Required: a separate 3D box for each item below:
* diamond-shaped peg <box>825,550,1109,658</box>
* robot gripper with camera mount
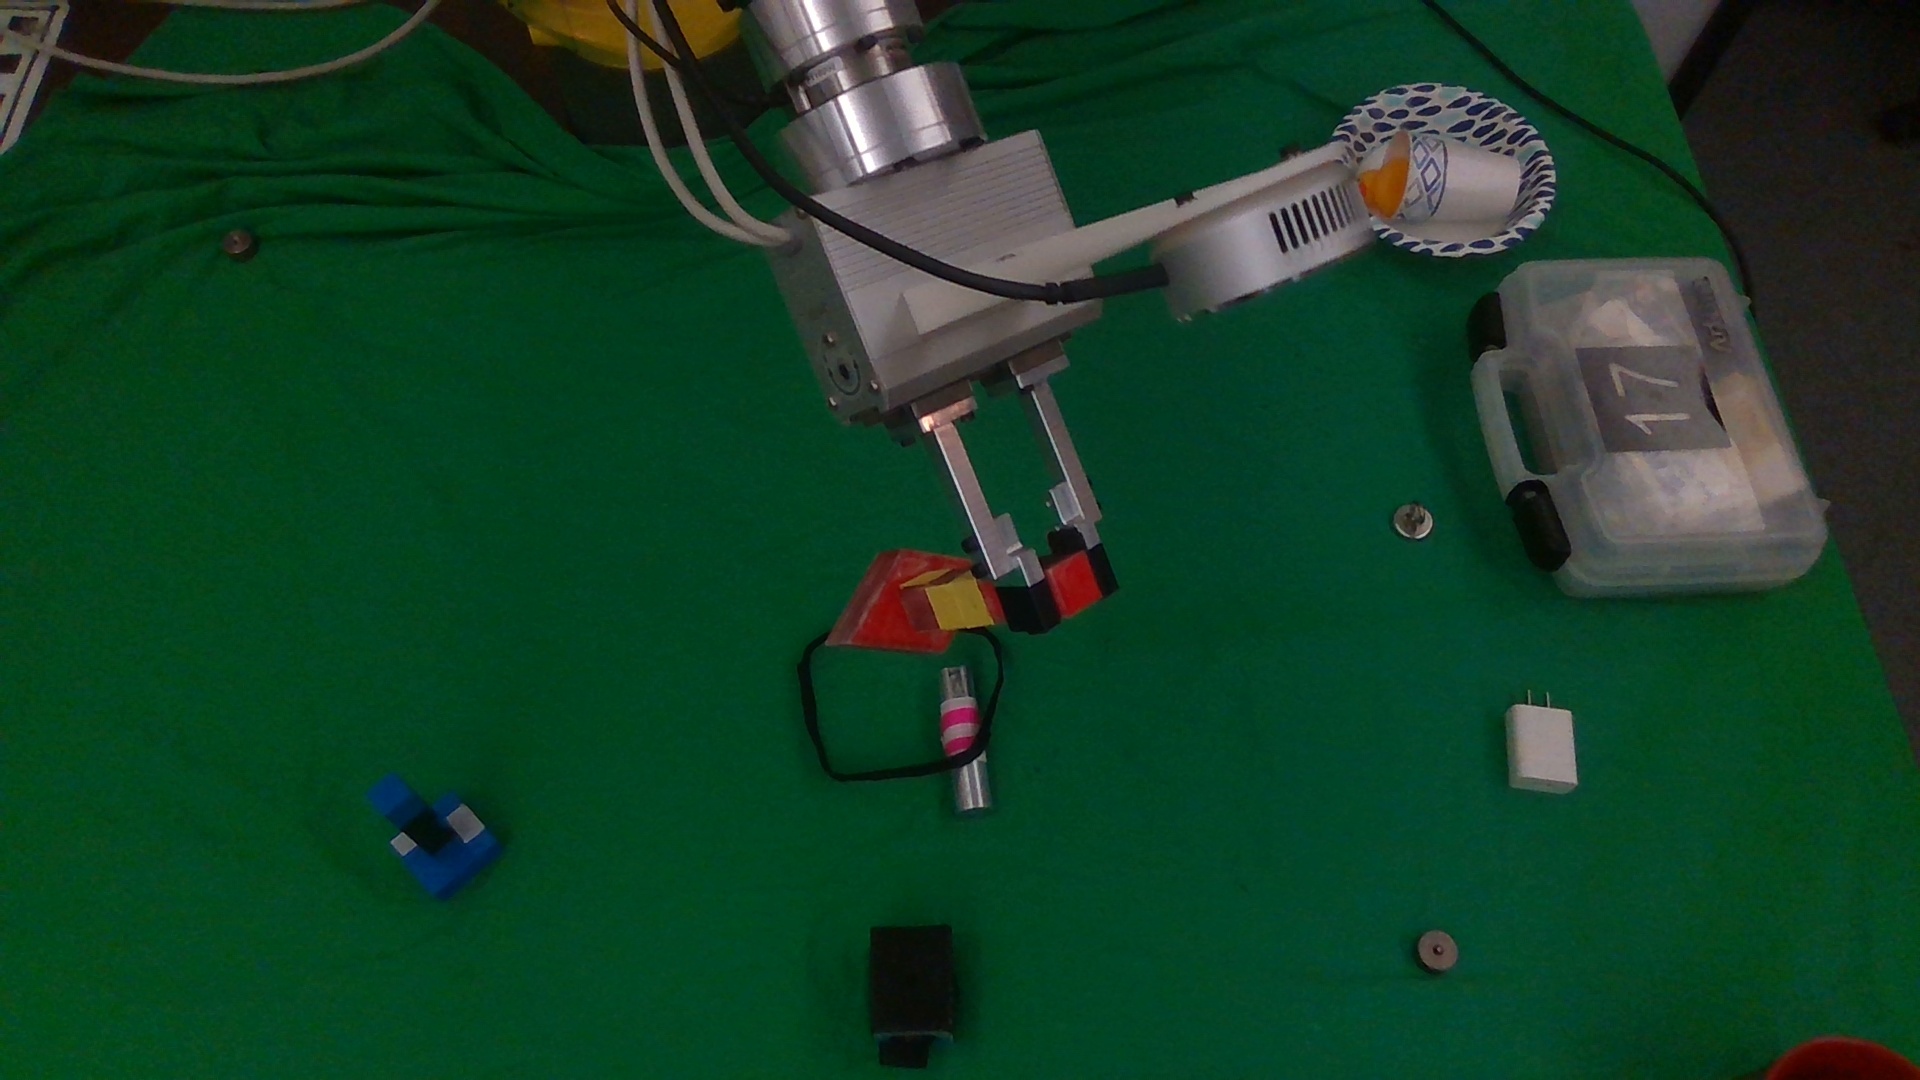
[{"bbox_3d":[0.008,0.024,0.559,0.045,0.122,0.074,43,62,-27],"label":"diamond-shaped peg"},{"bbox_3d":[0.062,-0.056,0.462,0.118,0.194,0.158,-31,105,-43],"label":"robot gripper with camera mount"}]
